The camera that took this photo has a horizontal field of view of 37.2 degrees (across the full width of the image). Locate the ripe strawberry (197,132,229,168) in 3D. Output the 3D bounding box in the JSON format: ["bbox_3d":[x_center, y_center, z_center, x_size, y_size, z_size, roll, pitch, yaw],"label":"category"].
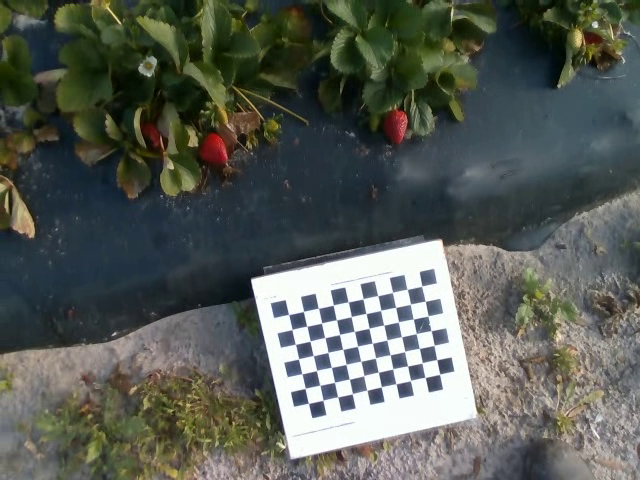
[{"bbox_3d":[-0.094,-0.082,0.876,0.030,0.032,0.026,38,-8,14],"label":"ripe strawberry"}]

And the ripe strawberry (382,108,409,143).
[{"bbox_3d":[0.076,-0.108,0.910,0.029,0.036,0.021,-11,-8,-4],"label":"ripe strawberry"}]
